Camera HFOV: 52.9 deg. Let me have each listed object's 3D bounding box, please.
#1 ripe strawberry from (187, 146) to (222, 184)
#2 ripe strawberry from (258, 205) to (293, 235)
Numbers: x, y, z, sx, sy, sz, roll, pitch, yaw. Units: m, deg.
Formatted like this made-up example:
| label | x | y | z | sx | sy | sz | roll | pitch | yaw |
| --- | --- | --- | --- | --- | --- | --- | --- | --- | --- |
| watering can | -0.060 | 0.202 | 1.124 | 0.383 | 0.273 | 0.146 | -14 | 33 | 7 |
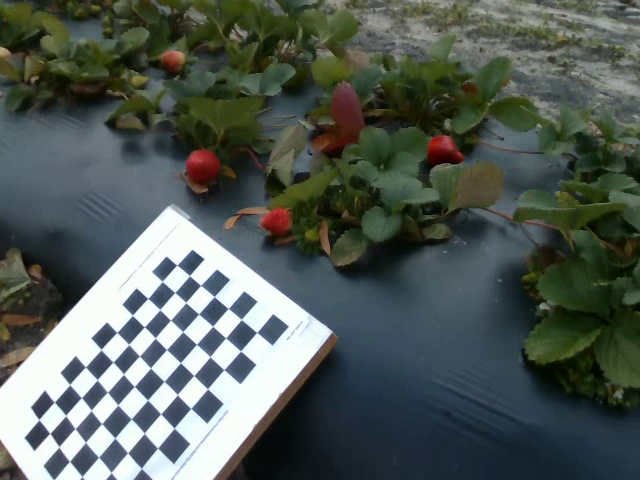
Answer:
| label | x | y | z | sx | sy | sz | roll | pitch | yaw |
| --- | --- | --- | --- | --- | --- | --- | --- | --- | --- |
| ripe strawberry | -0.148 | -0.093 | 0.789 | 0.043 | 0.047 | 0.065 | 43 | -4 | -2 |
| ripe strawberry | -0.047 | -0.019 | 0.699 | 0.042 | 0.037 | 0.041 | -7 | 40 | -39 |
